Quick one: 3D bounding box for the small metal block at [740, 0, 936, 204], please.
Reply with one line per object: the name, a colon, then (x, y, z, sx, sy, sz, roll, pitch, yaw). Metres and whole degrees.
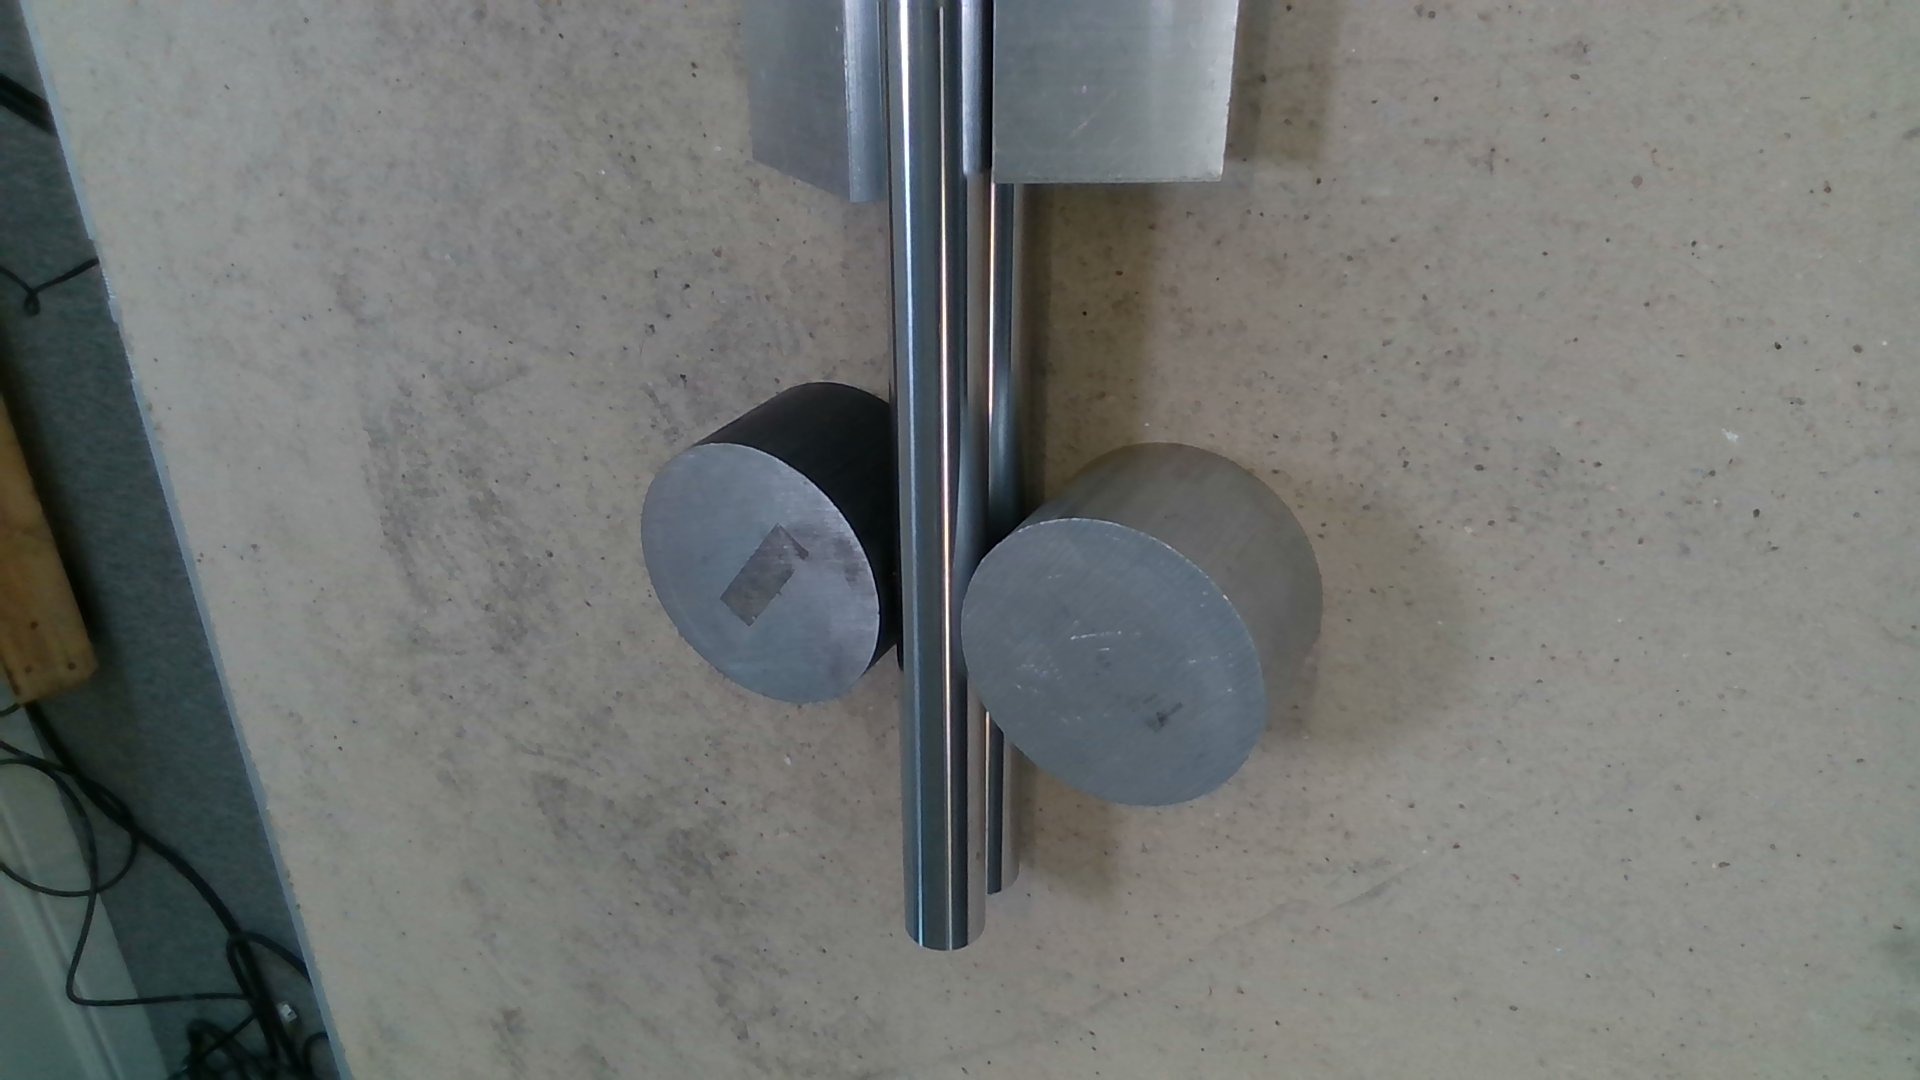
small metal block: (-0.029, -0.114, 0.332, 0.050, 0.025, 0.050, 35, 134, 46)

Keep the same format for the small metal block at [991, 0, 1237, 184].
small metal block: (0.032, -0.106, 0.299, 0.050, 0.025, 0.050, 1, 118, 1)

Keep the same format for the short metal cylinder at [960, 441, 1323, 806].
short metal cylinder: (0.047, 0.021, 0.355, 0.080, 0.050, 0.080, 15, 122, 25)

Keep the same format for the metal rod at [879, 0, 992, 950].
metal rod: (-0.005, -0.015, 0.352, 0.025, 0.025, 0.301, 14, 122, 25)

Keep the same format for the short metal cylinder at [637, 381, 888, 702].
short metal cylinder: (-0.046, 0.000, 0.401, 0.080, 0.050, 0.080, 15, 122, 25)

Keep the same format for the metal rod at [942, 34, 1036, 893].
metal rod: (0.006, -0.026, 0.371, 0.025, 0.025, 0.301, 15, 122, 25)
